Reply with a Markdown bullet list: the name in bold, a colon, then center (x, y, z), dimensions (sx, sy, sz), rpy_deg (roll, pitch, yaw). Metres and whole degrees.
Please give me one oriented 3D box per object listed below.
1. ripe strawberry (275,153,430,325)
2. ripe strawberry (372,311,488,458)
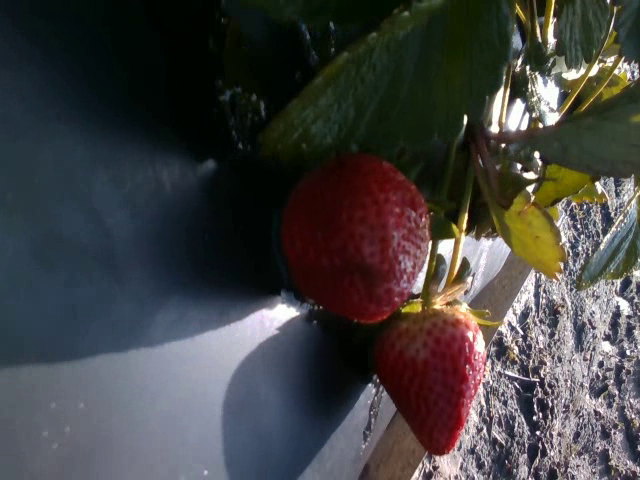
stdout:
- **ripe strawberry**: center (0.011, 0.001, 0.153), dimensions (0.039, 0.048, 0.054), rpy_deg (22, 23, -5)
- **ripe strawberry**: center (0.041, 0.047, 0.197), dimensions (0.038, 0.053, 0.043), rpy_deg (-9, -13, 10)
